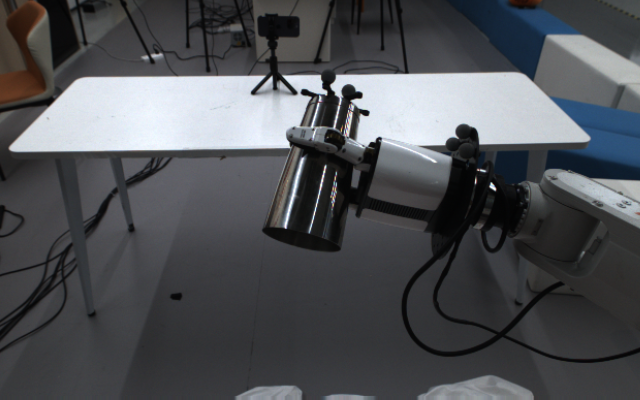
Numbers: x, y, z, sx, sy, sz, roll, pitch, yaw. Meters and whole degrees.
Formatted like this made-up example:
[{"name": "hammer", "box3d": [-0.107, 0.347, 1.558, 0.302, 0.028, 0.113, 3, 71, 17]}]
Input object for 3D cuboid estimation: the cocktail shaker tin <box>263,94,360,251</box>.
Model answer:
[{"name": "cocktail shaker tin", "box3d": [-0.002, -0.033, 0.569, 0.093, 0.093, 0.170, 11, 73, 12]}]
